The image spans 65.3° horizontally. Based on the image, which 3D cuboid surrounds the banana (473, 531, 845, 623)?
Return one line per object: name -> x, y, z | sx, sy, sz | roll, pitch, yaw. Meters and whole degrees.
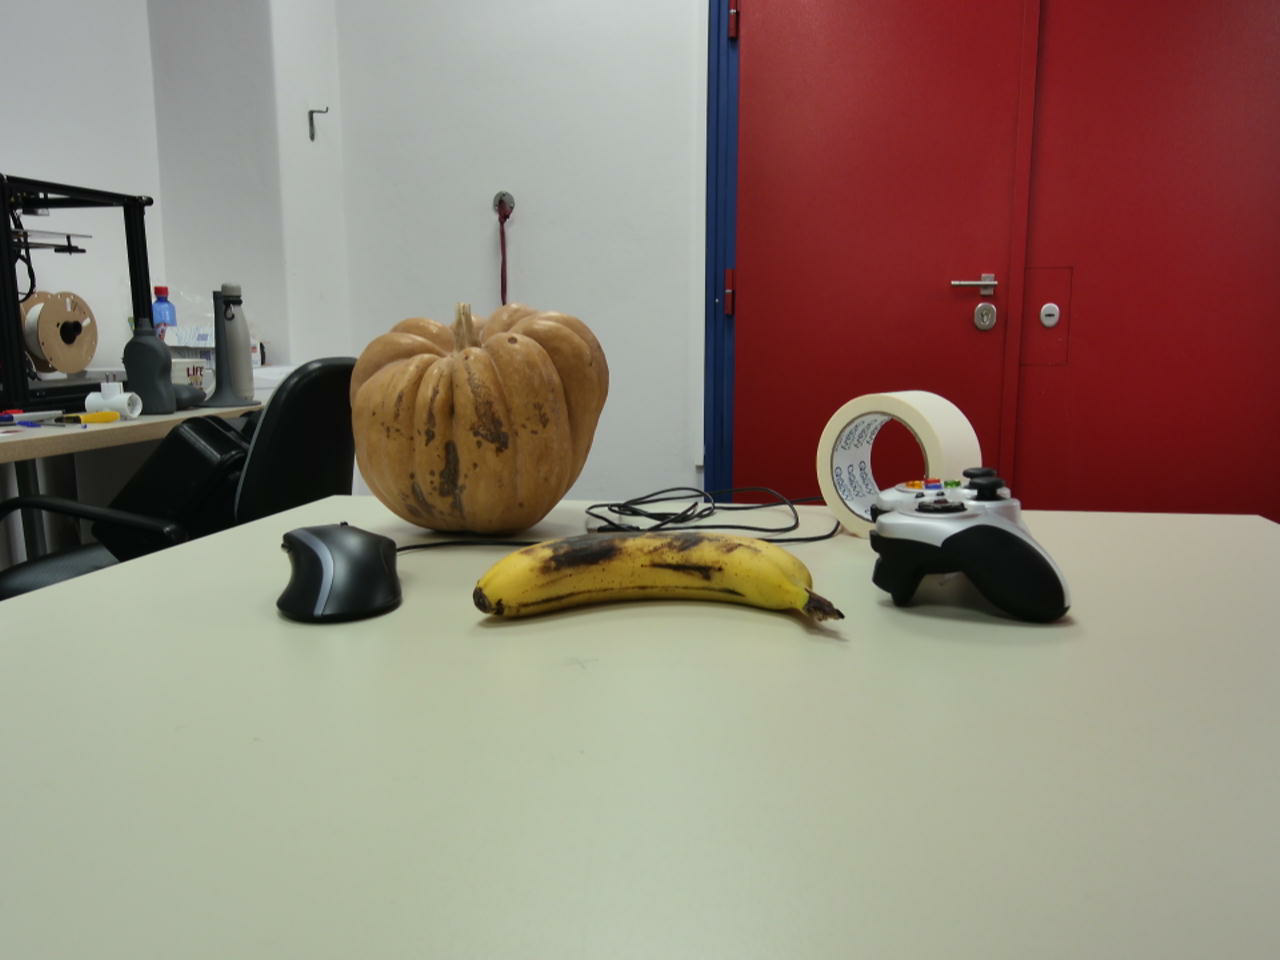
banana -> 0.012, 0.052, 0.540 | 0.187, 0.039, 0.094 | 1, 6, 10
